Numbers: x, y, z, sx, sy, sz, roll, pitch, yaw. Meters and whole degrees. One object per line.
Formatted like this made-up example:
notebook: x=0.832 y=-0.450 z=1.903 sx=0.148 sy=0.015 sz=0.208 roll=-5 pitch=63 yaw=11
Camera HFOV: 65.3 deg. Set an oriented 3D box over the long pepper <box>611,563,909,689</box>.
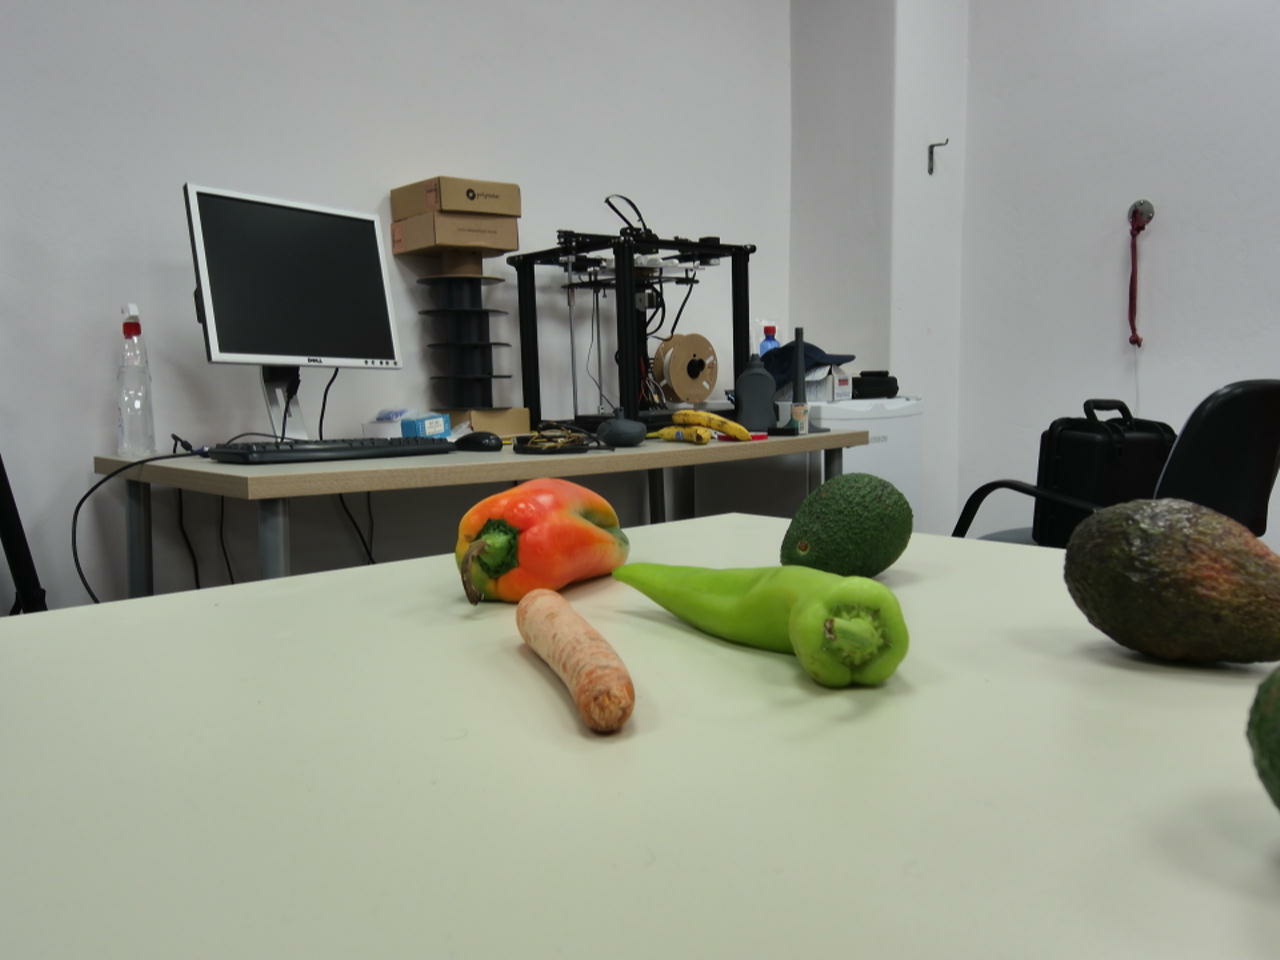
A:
long pepper: x=0.056 y=0.058 z=0.476 sx=0.065 sy=0.045 sz=0.205 roll=-1 pitch=4 yaw=-24
